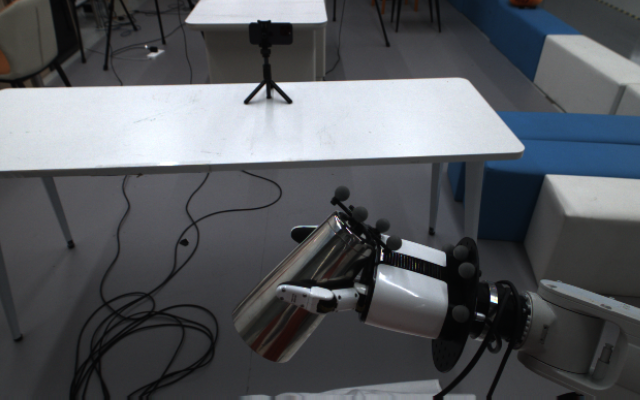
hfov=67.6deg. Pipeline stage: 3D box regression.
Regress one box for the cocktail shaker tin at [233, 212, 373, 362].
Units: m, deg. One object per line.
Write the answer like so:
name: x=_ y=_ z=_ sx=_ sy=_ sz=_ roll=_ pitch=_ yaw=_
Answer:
cocktail shaker tin: x=-0.013 y=0.091 z=0.568 sx=0.093 sy=0.170 sz=0.093 roll=41 pitch=14 yaw=-12
